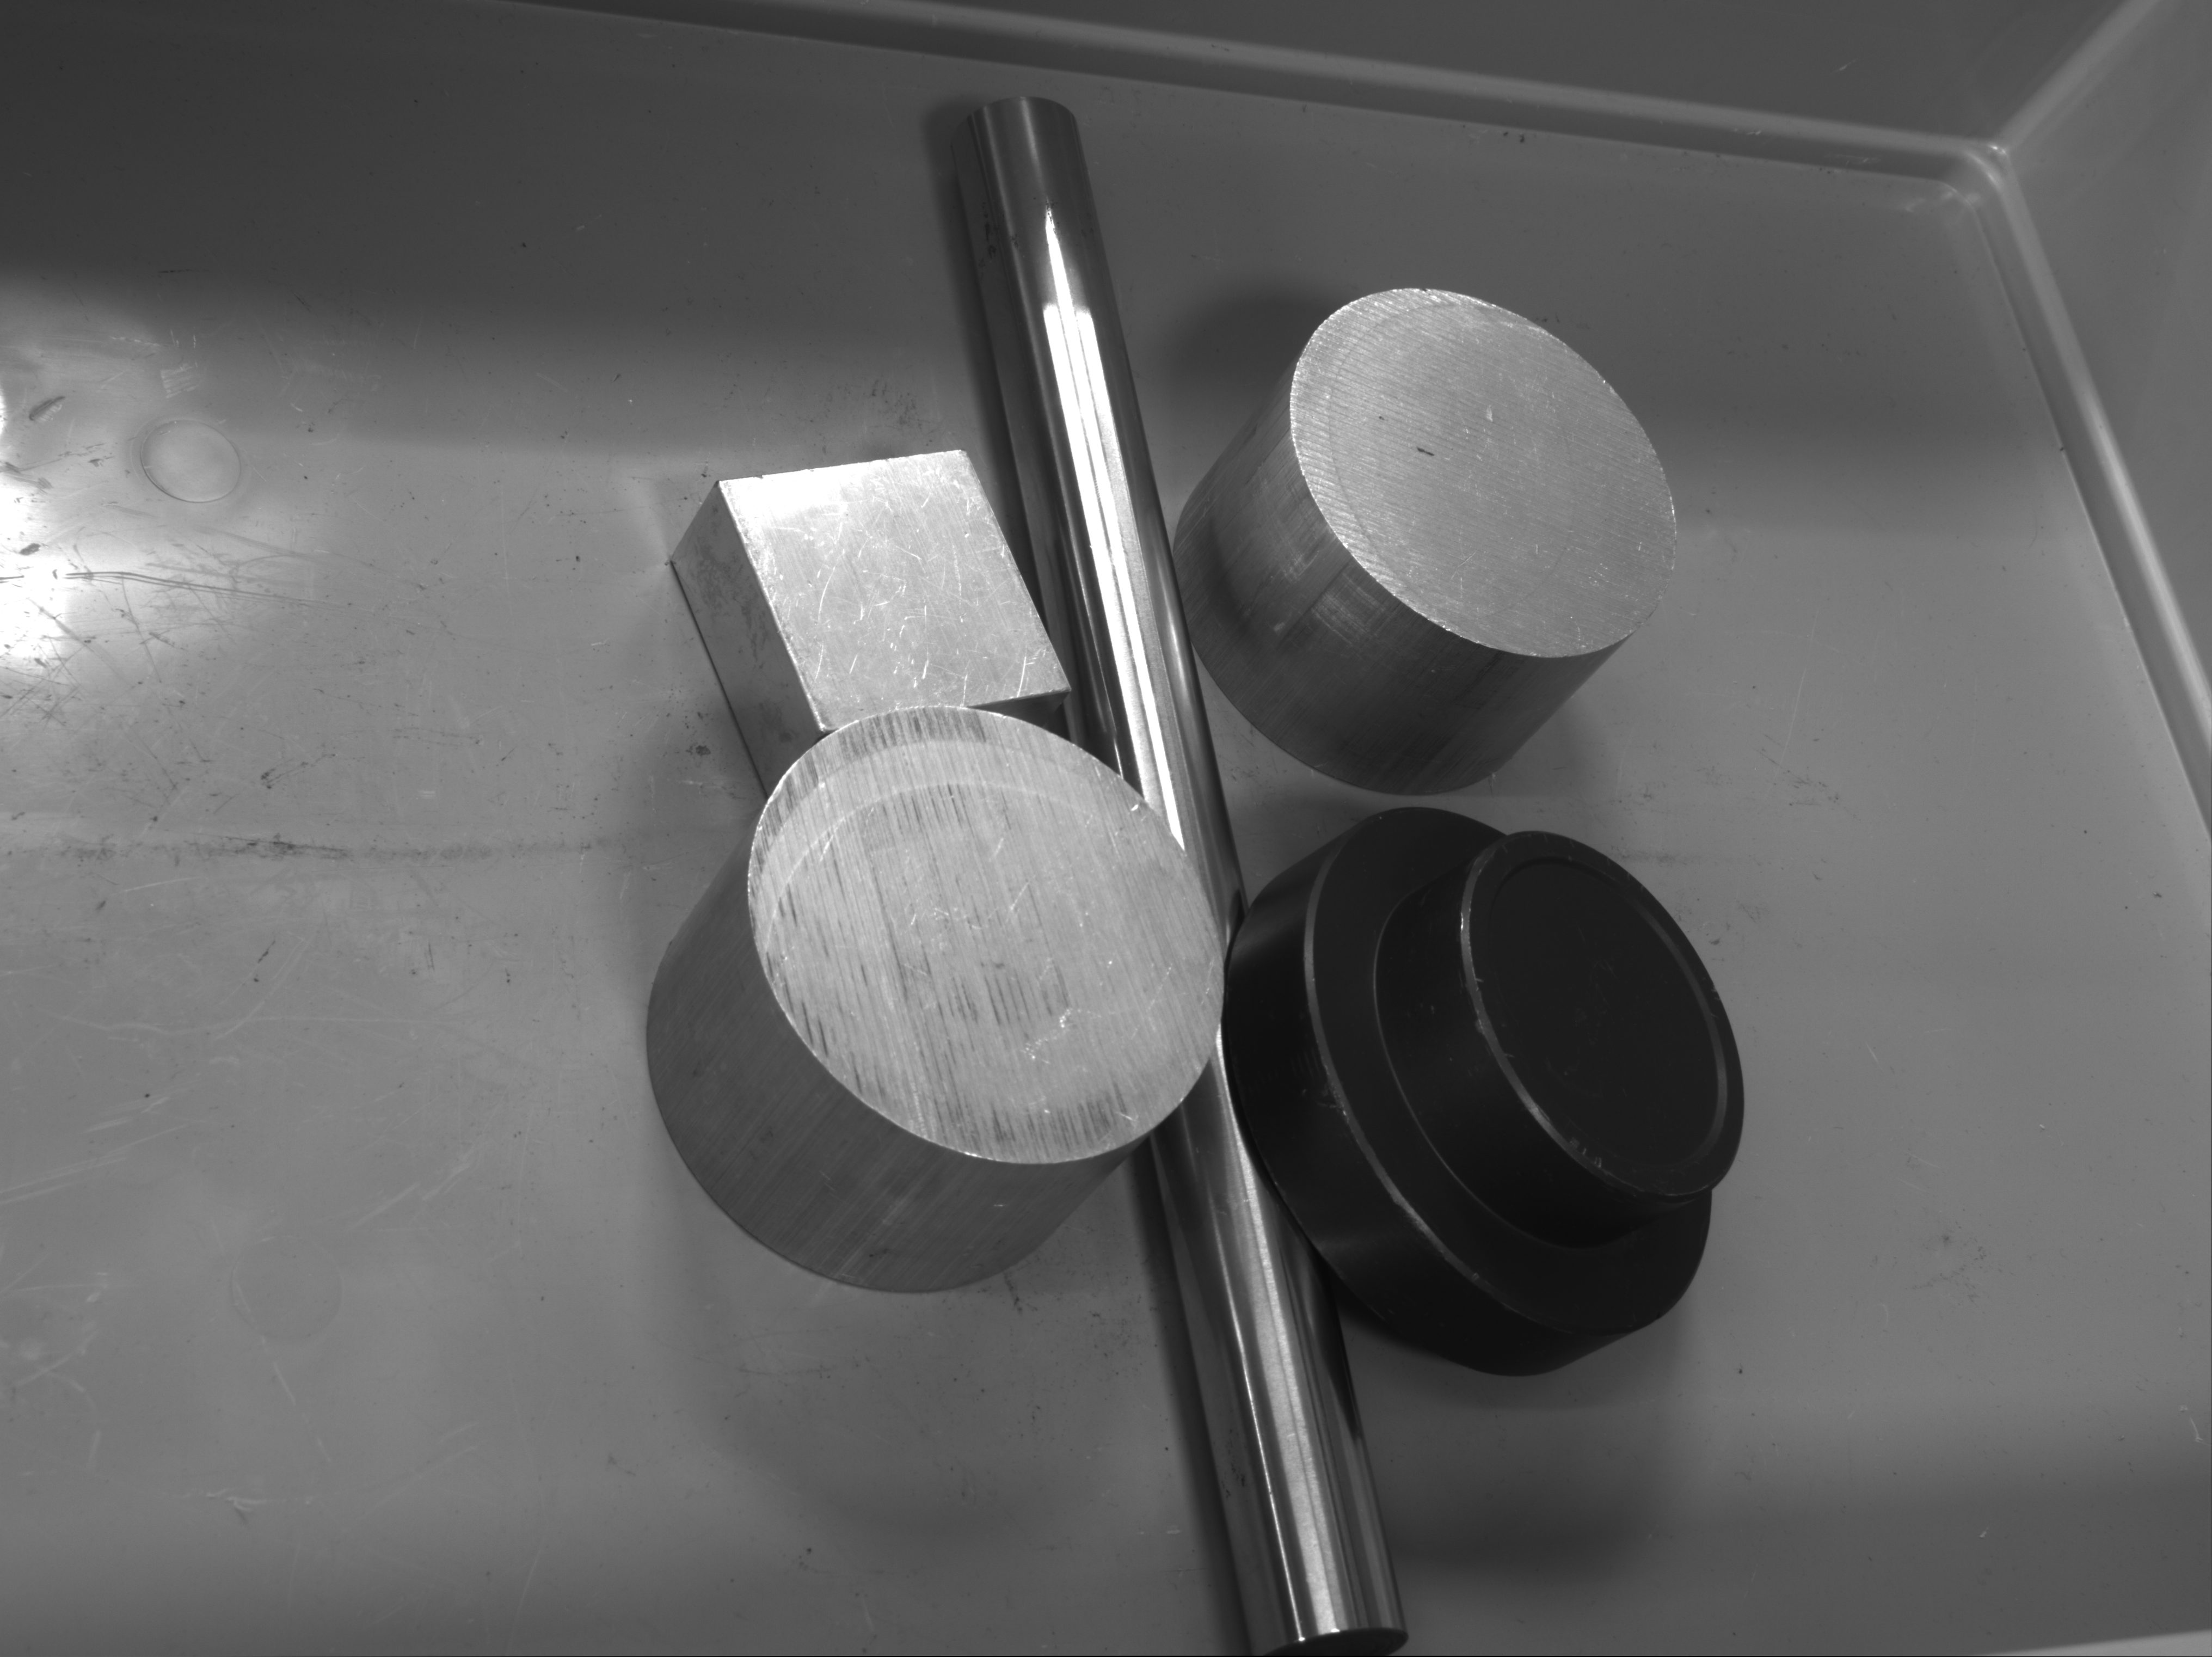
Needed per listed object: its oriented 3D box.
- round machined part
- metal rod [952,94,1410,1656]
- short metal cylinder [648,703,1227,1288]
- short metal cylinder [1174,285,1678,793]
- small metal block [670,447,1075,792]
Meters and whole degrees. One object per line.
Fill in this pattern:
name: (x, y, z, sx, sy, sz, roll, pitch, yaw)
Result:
round machined part: (0.070, 0.040, 0.625, 0.098, 0.042, 0.098, 27, 45, -30)
metal rod: (0.009, -0.002, 0.644, 0.025, 0.025, 0.300, 3, 60, -27)
short metal cylinder: (-0.027, 0.027, 0.590, 0.080, 0.050, 0.080, 13, 56, -21)
short metal cylinder: (0.059, -0.054, 0.686, 0.080, 0.050, 0.080, 13, 56, -21)
small metal block: (-0.041, -0.036, 0.637, 0.050, 0.025, 0.050, -12, 68, -33)
